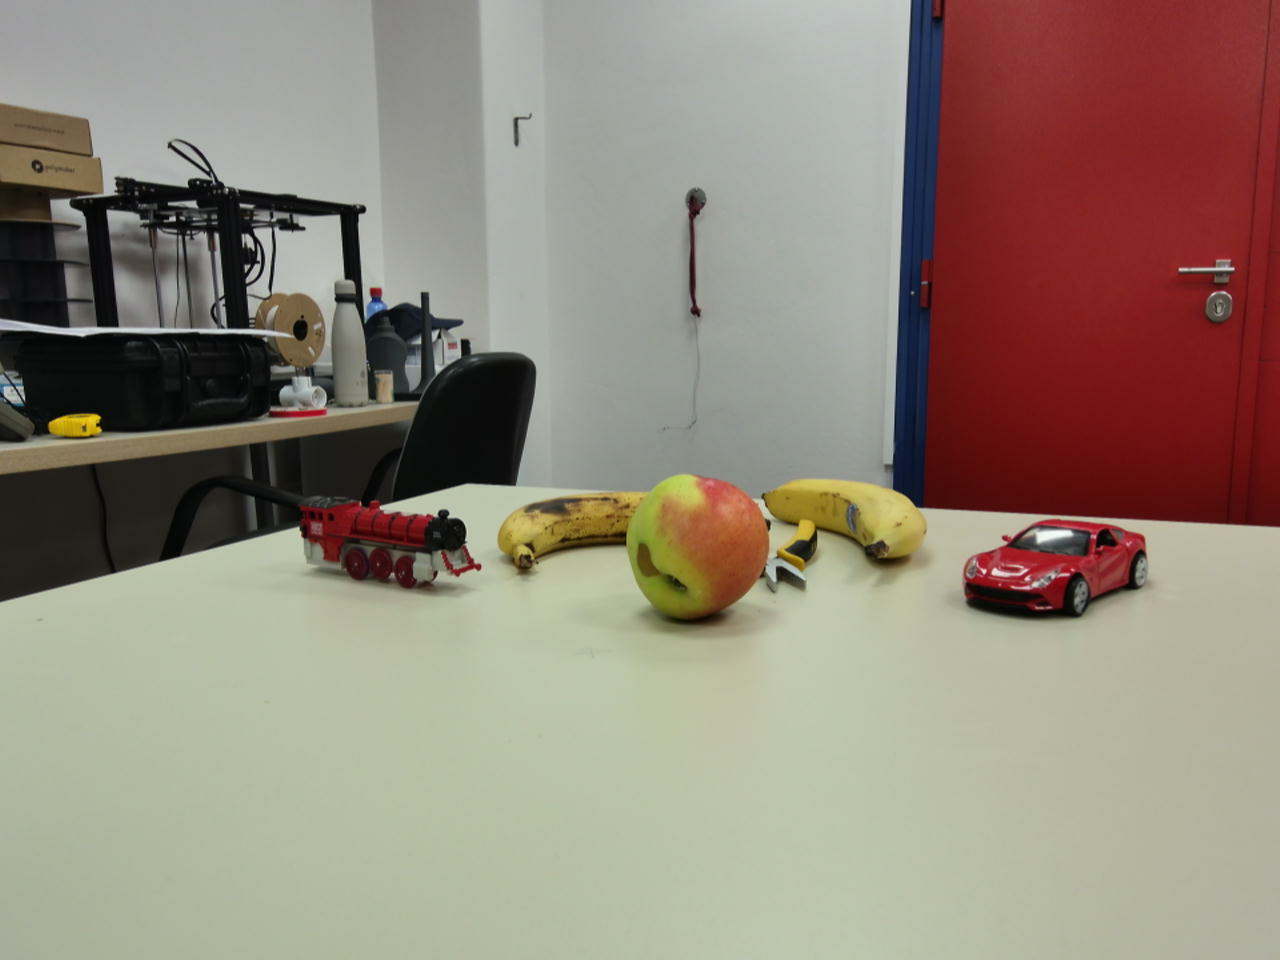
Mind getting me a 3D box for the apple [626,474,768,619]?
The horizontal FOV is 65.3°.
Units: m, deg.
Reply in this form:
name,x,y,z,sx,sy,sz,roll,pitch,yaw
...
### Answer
name,x,y,z,sx,sy,sz,roll,pitch,yaw
apple,0.030,0.035,0.529,0.075,0.074,0.075,1,6,4
